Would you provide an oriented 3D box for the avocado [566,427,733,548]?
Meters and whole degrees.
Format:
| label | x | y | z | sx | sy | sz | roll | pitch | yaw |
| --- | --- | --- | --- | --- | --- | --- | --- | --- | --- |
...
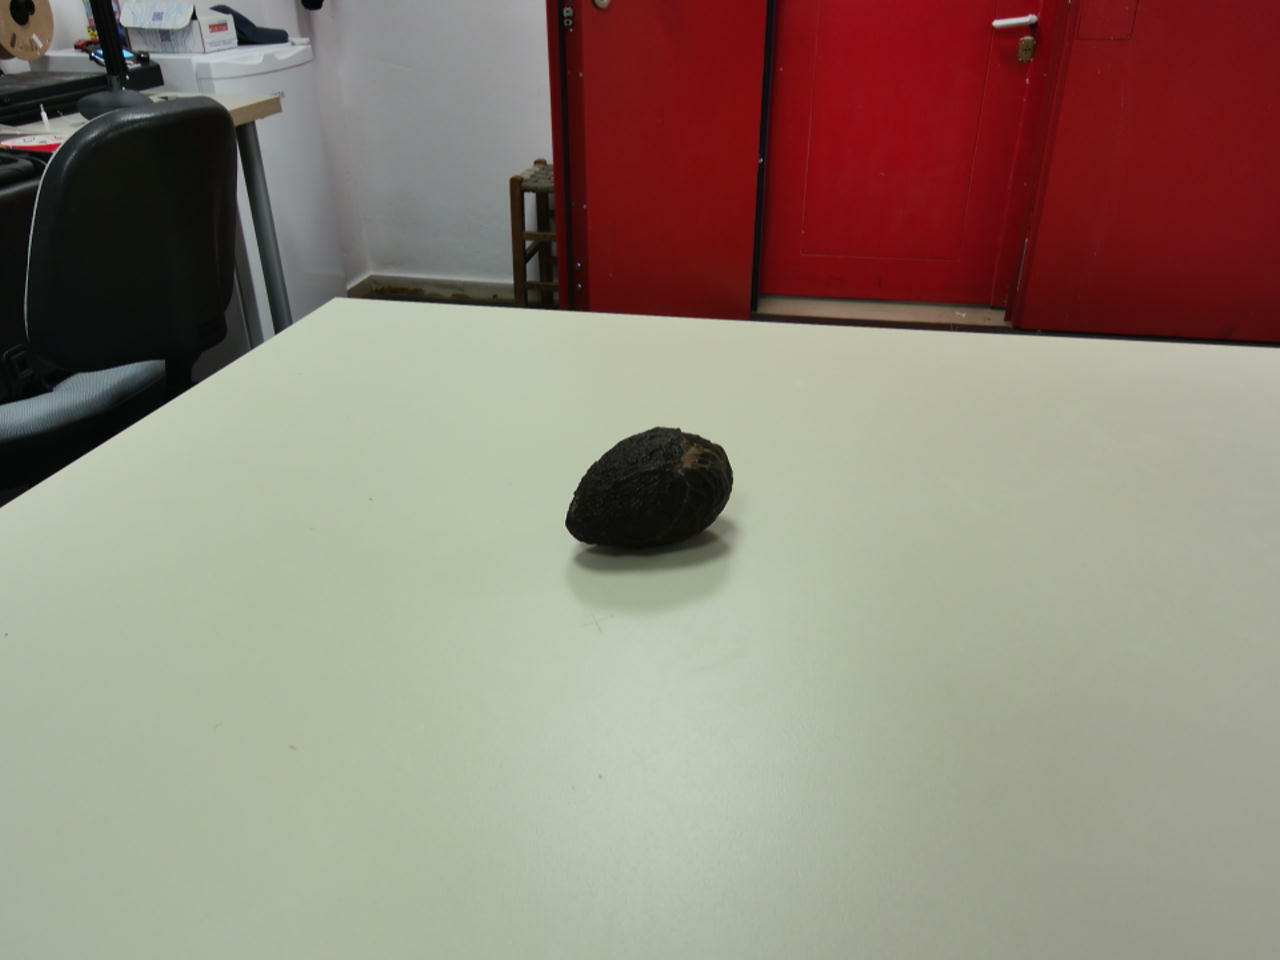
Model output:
| label | x | y | z | sx | sy | sz | roll | pitch | yaw |
| --- | --- | --- | --- | --- | --- | --- | --- | --- | --- |
| avocado | 0.004 | 0.004 | 0.534 | 0.092 | 0.062 | 0.062 | -6 | 26 | -10 |
